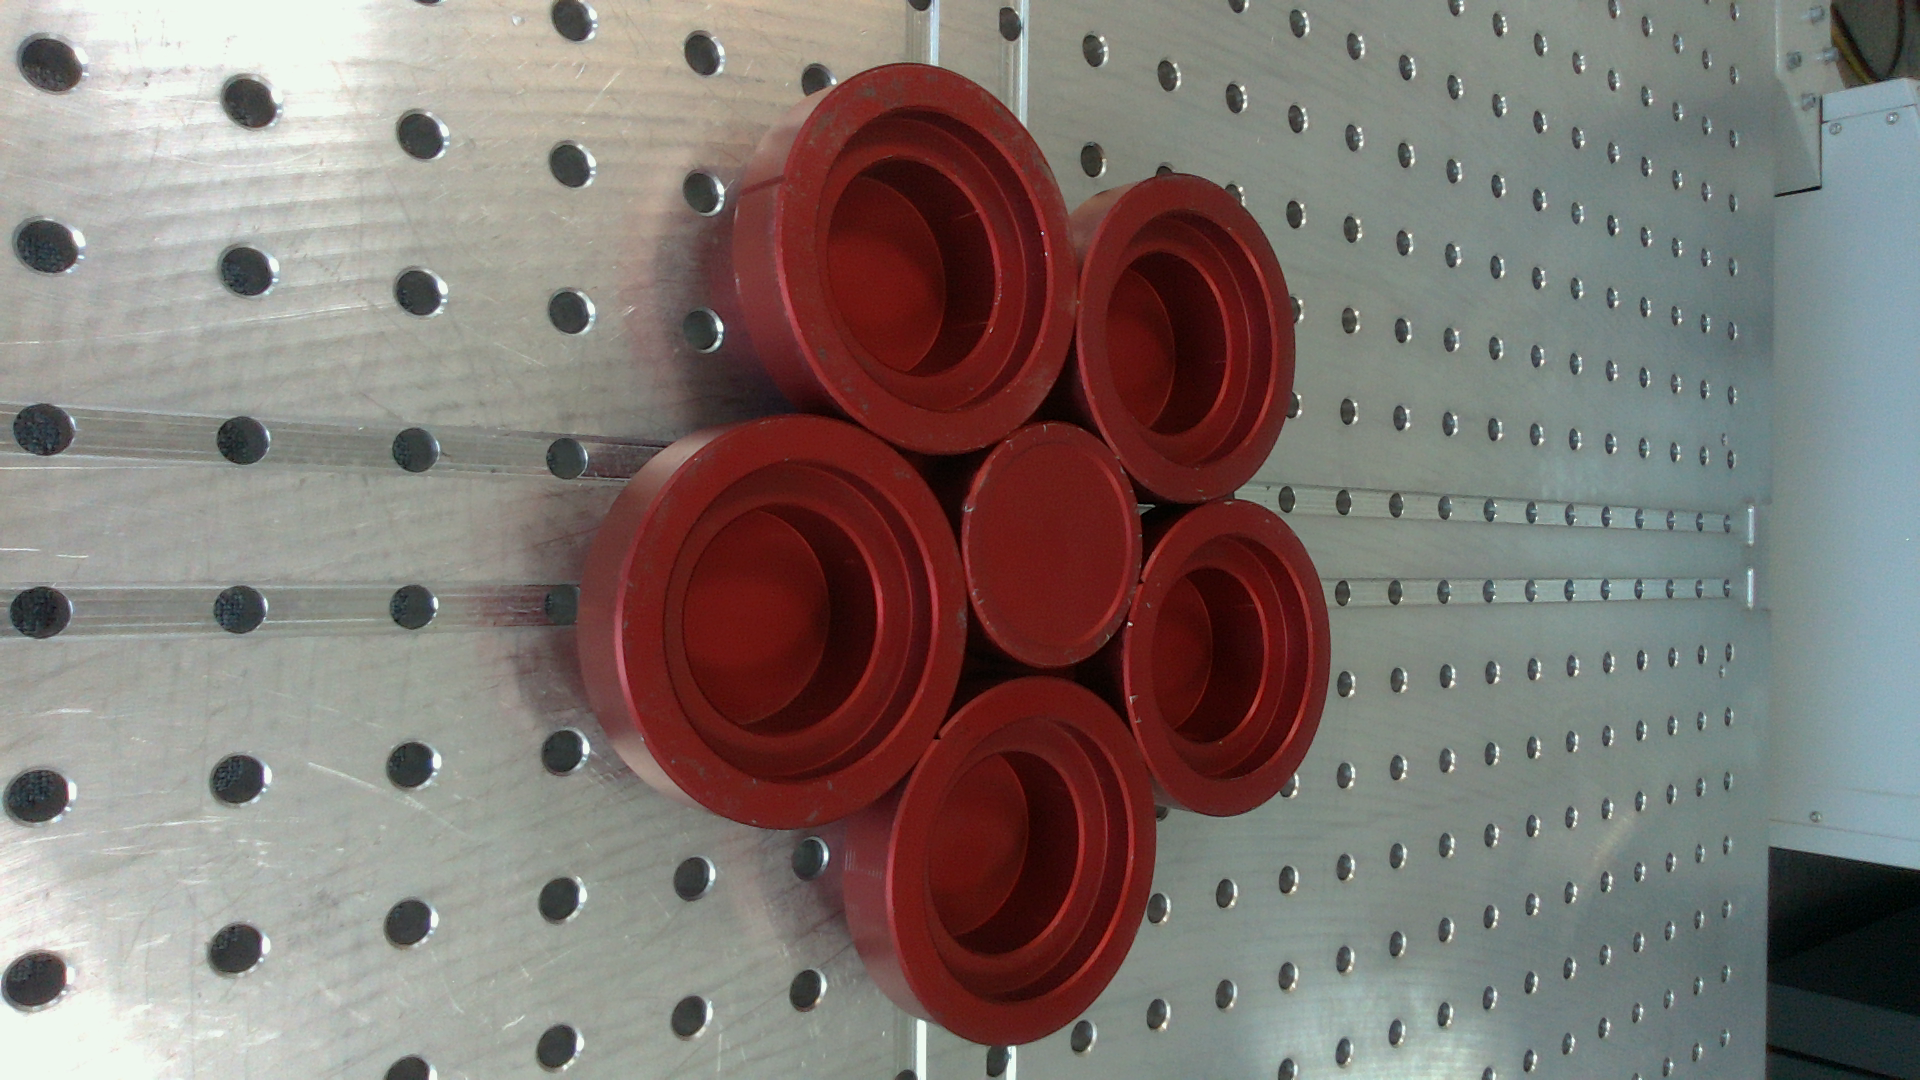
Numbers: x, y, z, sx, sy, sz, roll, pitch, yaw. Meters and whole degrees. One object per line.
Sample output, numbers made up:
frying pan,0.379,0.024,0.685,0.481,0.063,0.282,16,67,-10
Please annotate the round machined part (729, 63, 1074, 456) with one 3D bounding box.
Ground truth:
round machined part,-0.019,-0.071,0.364,0.098,0.042,0.098,0,90,-40

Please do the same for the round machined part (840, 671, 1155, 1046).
round machined part,0.006,0.086,0.385,0.098,0.042,0.098,0,90,-40

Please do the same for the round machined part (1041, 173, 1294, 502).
round machined part,0.057,-0.060,0.427,0.098,0.042,0.098,0,90,-40

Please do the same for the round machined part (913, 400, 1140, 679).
round machined part,0.013,0.001,0.391,0.098,0.042,0.098,0,90,-40

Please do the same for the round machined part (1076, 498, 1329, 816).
round machined part,0.072,0.036,0.440,0.098,0.042,0.098,0,90,-40

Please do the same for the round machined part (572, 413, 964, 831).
round machined part,-0.049,0.019,0.339,0.098,0.042,0.098,0,90,-40
